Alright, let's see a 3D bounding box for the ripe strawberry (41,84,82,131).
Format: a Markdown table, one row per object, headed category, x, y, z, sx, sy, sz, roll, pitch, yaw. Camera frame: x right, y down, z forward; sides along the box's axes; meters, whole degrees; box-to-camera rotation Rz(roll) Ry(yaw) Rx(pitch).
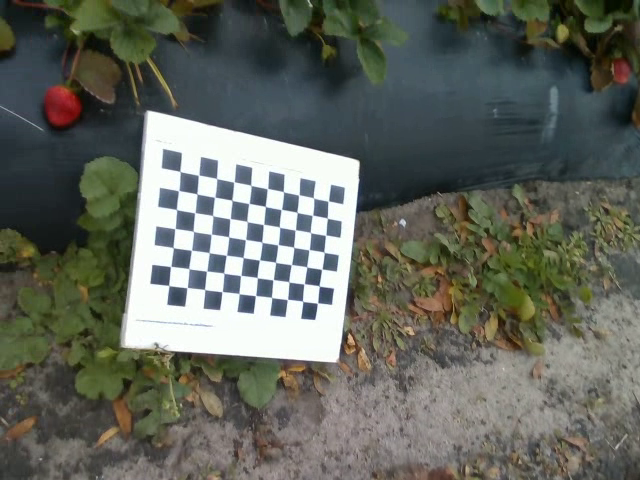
| category | x | y | z | sx | sy | sz | roll | pitch | yaw |
| --- | --- | --- | --- | --- | --- | --- | --- | --- | --- |
| ripe strawberry | -0.180 | -0.098 | 0.567 | 0.029 | 0.032 | 0.023 | 26 | -15 | -24 |
